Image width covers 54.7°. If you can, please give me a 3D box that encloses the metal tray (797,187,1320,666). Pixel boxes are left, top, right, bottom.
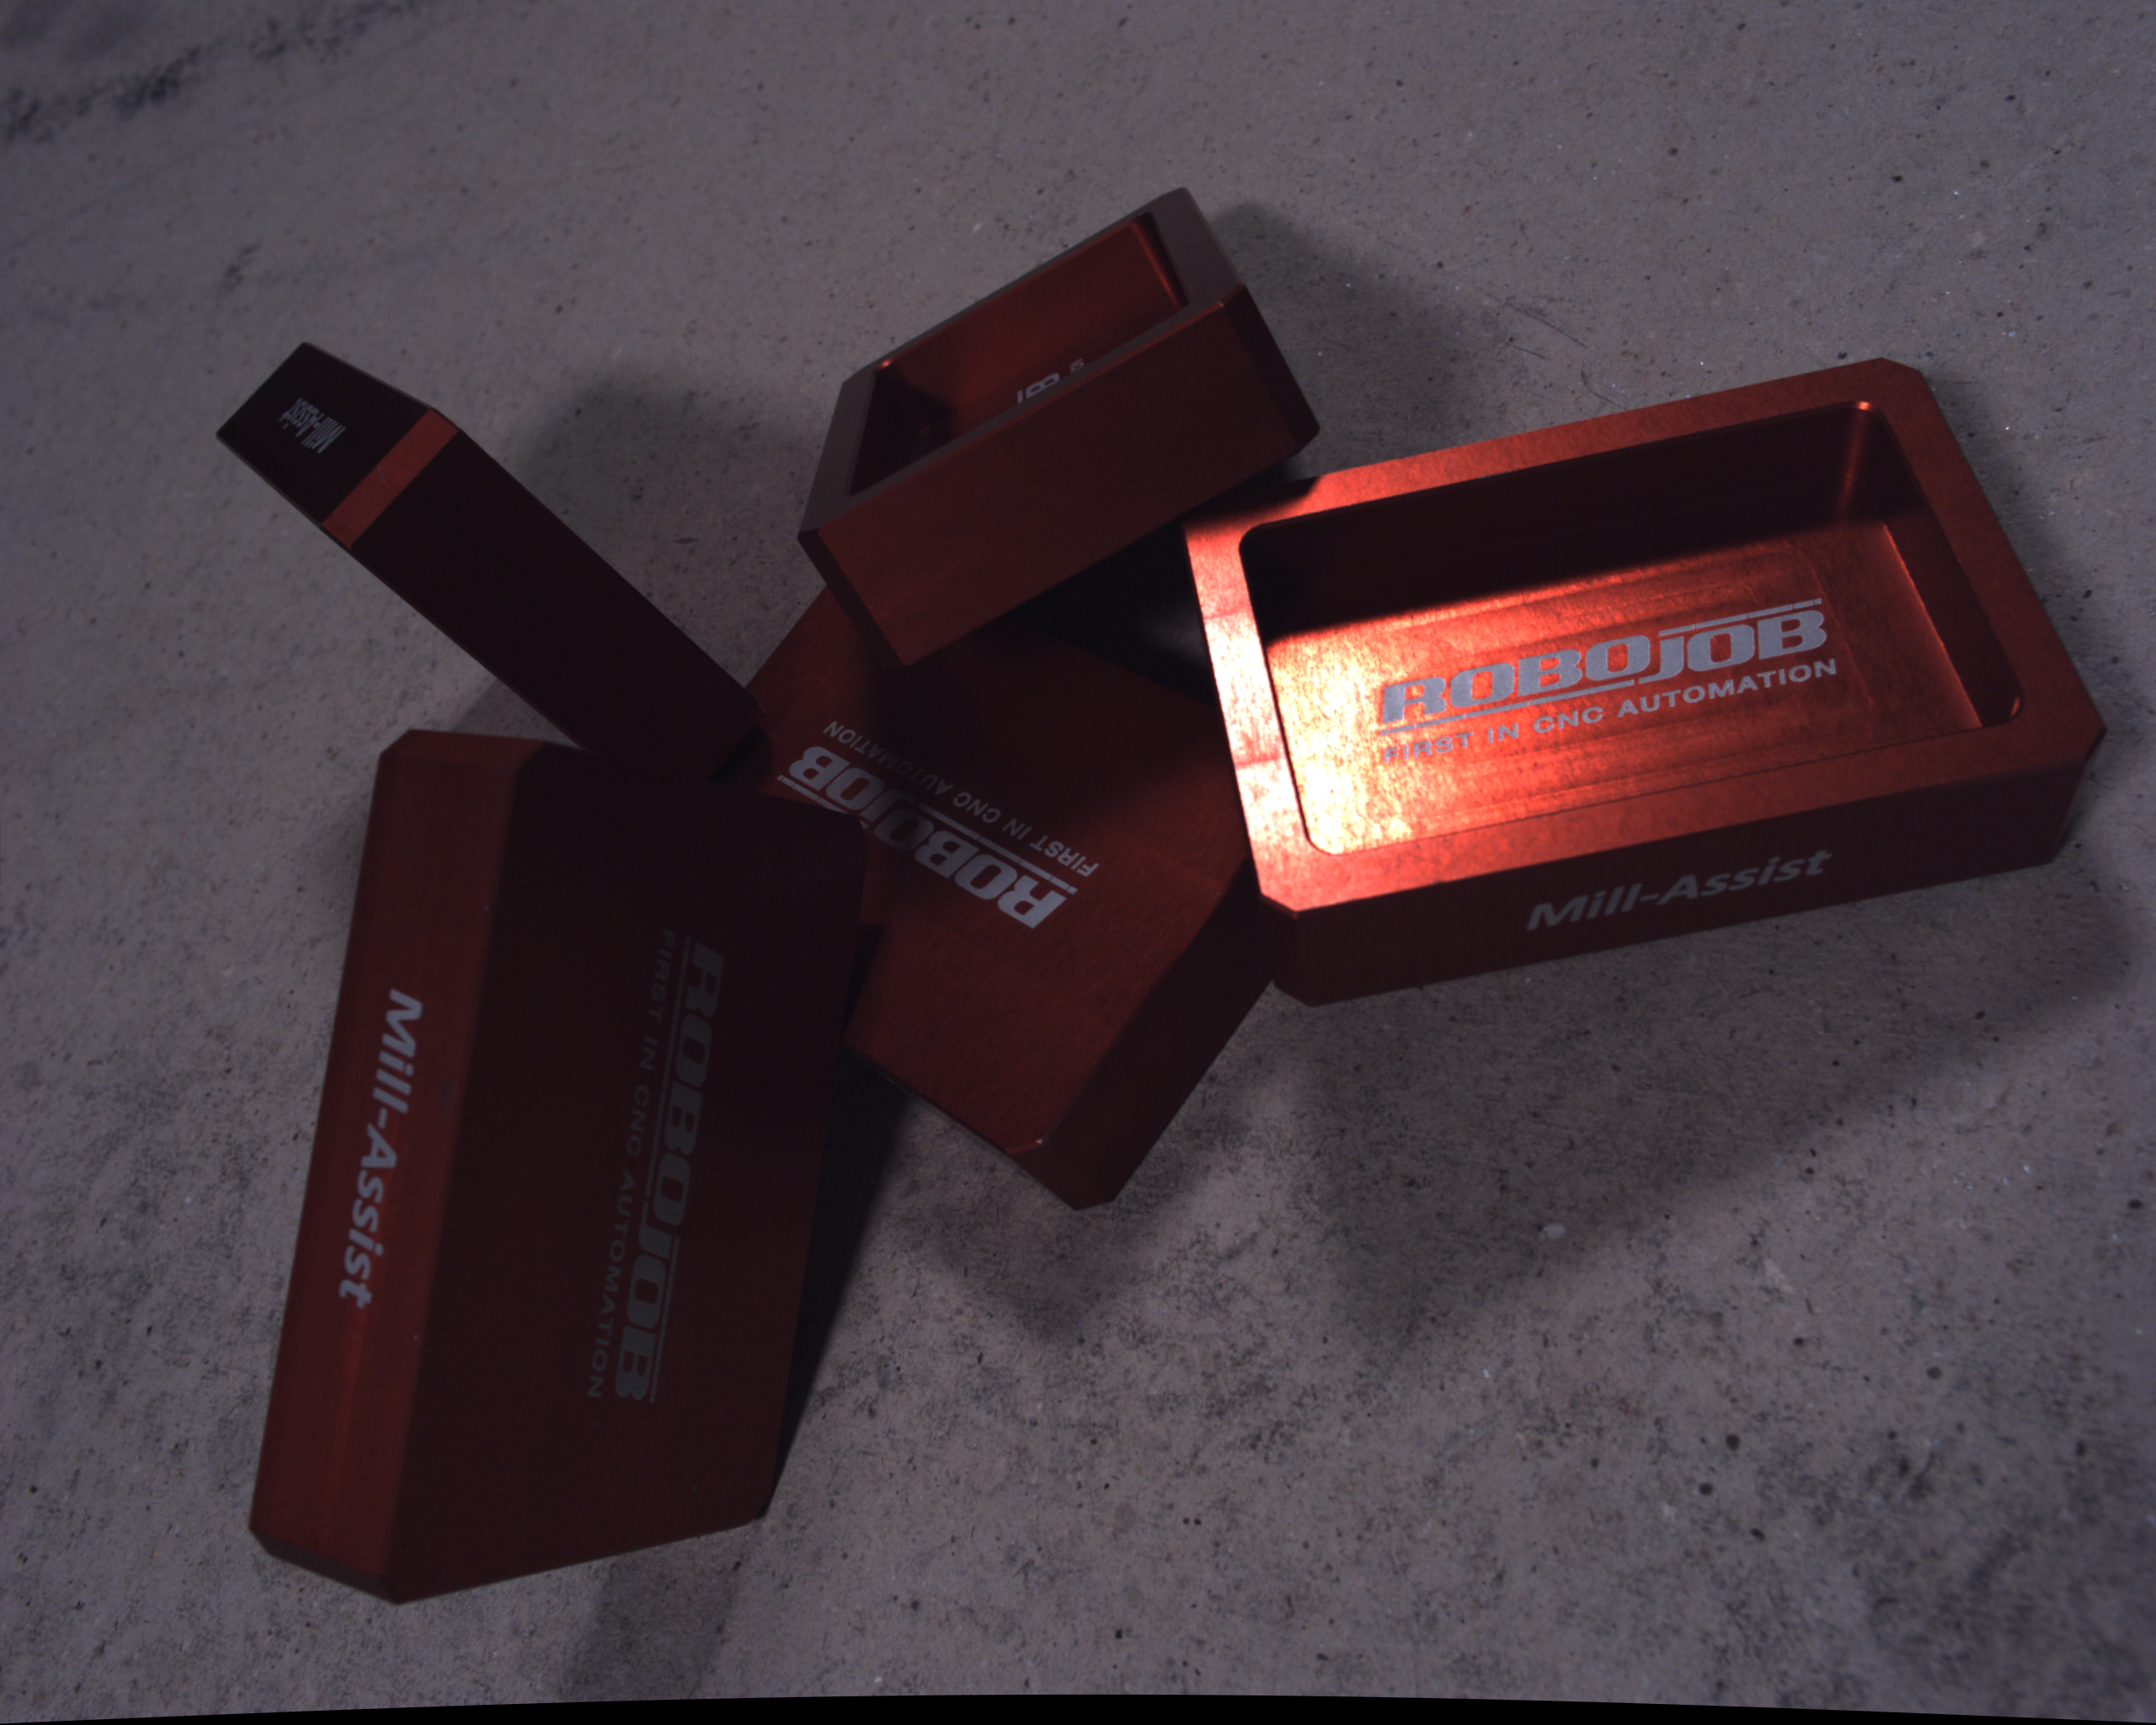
[{"bbox_3d":[-0.006,-0.093,0.423,0.090,0.030,0.130,-27,23,10],"label":"metal tray"}]

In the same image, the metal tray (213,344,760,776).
[{"bbox_3d":[-0.130,-0.063,0.449,0.030,0.090,0.130,-49,35,-6],"label":"metal tray"}]

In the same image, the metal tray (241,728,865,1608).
[{"bbox_3d":[-0.083,0.049,0.350,0.030,0.090,0.129,6,85,31],"label":"metal tray"}]

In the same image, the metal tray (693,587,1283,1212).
[{"bbox_3d":[-0.023,-0.001,0.413,0.130,0.030,0.090,29,77,37],"label":"metal tray"}]

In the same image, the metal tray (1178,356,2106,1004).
[{"bbox_3d":[0.089,-0.033,0.354,0.131,0.030,0.090,-11,55,4],"label":"metal tray"}]
